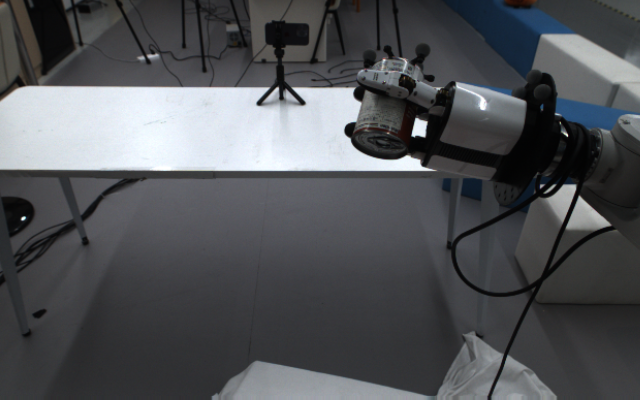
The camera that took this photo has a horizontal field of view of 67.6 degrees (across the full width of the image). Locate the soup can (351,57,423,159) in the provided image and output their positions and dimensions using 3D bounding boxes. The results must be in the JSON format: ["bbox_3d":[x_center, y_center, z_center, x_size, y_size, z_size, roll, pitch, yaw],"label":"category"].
[{"bbox_3d":[0.083,-0.110,0.577,0.067,0.067,0.101,11,72,13],"label":"soup can"}]
